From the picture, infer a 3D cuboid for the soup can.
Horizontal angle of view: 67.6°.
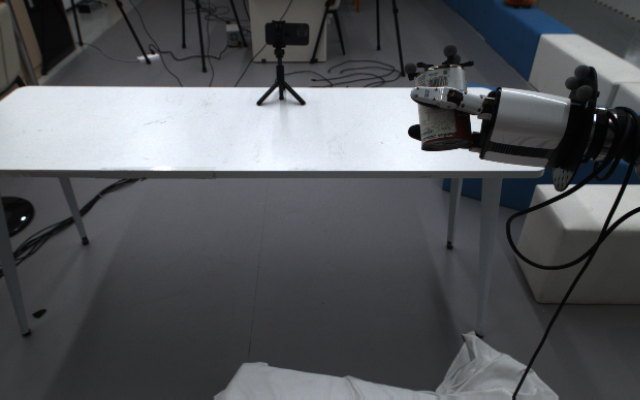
[{"bbox_3d":[0.168,-0.123,0.656,0.067,0.101,0.067,-5,-5,0],"label":"soup can"}]
